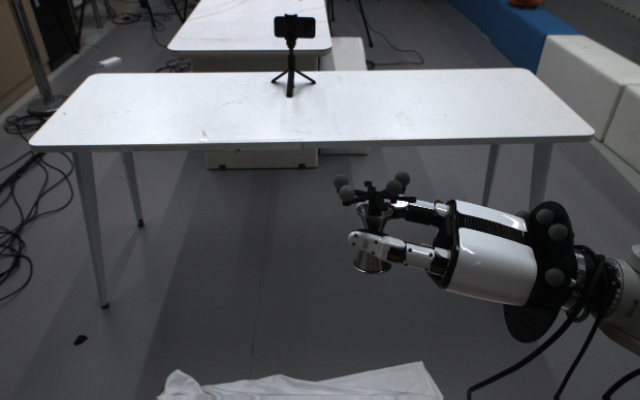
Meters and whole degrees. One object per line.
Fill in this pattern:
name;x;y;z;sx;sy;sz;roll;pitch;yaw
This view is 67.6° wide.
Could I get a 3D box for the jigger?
jigger;0.060;0.043;0.544;0.043;0.071;0.043;0;21;0
